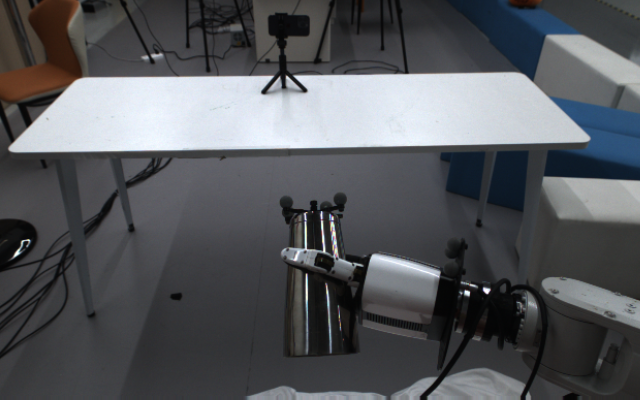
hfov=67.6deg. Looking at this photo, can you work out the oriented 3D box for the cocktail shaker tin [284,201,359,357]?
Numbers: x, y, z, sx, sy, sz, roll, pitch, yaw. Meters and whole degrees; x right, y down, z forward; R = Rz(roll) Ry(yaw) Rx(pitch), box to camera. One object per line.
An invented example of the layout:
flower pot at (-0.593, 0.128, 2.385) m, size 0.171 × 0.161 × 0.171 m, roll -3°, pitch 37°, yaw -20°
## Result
cocktail shaker tin at (-0.003, 0.105, 0.601) m, size 0.093 × 0.093 × 0.170 m, roll -2°, pitch 70°, yaw -5°
